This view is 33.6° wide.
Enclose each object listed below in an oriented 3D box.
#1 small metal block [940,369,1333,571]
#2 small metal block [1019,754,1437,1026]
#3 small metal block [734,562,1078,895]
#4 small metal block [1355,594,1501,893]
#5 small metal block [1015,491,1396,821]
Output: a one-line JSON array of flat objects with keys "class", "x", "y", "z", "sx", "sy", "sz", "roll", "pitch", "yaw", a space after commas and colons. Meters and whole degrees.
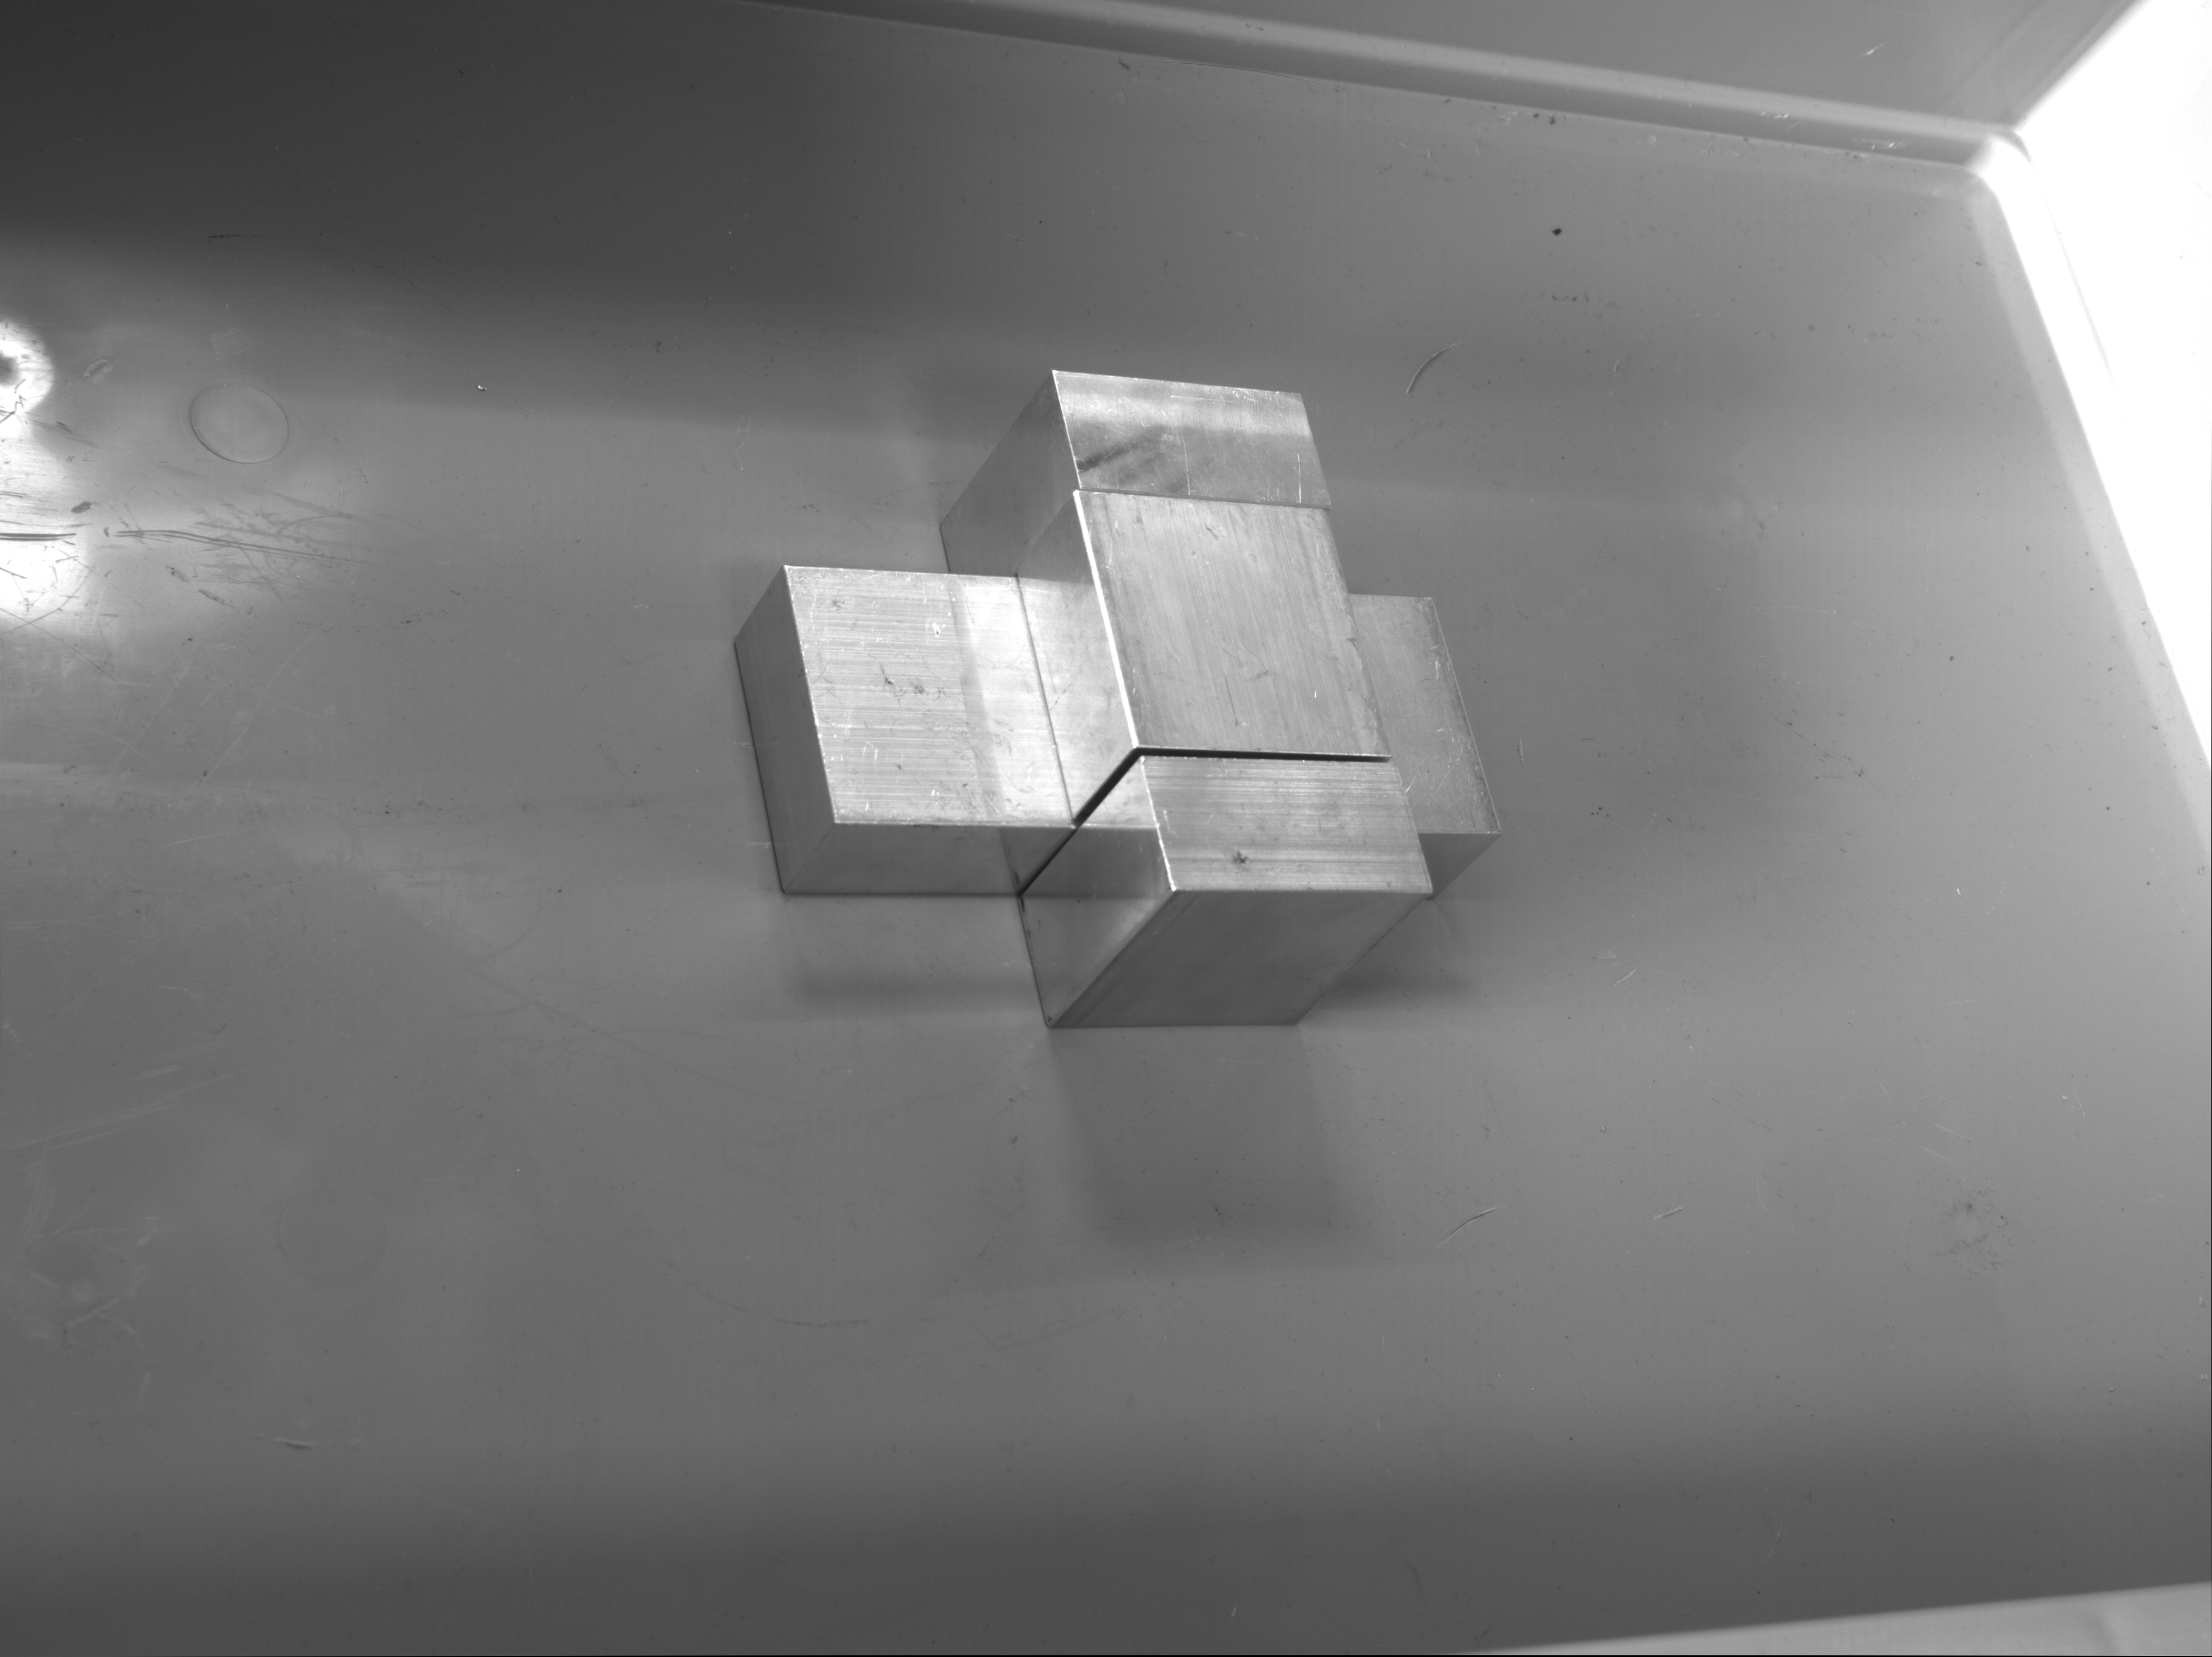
[{"class": "small metal block", "x": 0.005, "y": -0.056, "z": 0.657, "sx": 0.050, "sy": 0.050, "sz": 0.025, "roll": 1, "pitch": 61, "yaw": -28}, {"class": "small metal block", "x": 0.020, "y": 0.011, "z": 0.623, "sx": 0.050, "sy": 0.050, "sz": 0.025, "roll": 1, "pitch": 61, "yaw": -28}, {"class": "small metal block", "x": -0.032, "y": -0.017, "z": 0.629, "sx": 0.050, "sy": 0.025, "sz": 0.050, "roll": 1, "pitch": 61, "yaw": -28}, {"class": "small metal block", "x": 0.038, "y": -0.015, "z": 0.667, "sx": 0.050, "sy": 0.025, "sz": 0.050, "roll": 1, "pitch": 61, "yaw": -28}, {"class": "small metal block", "x": 0.017, "y": -0.029, "z": 0.630, "sx": 0.050, "sy": 0.025, "sz": 0.050, "roll": 1, "pitch": 61, "yaw": -28}]
